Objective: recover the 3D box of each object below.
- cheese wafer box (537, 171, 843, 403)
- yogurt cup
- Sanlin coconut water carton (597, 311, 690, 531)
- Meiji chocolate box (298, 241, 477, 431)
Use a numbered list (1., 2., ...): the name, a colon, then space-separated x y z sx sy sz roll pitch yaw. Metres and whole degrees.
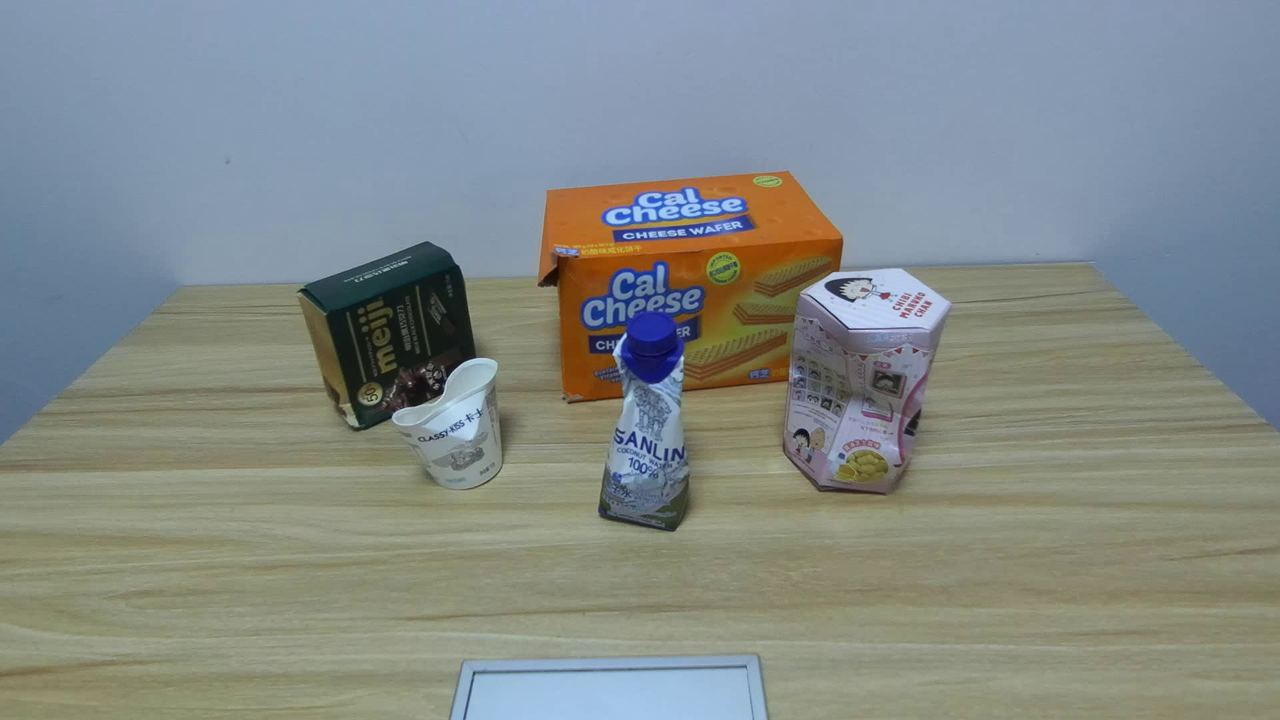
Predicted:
1. cheese wafer box: 0.035 -0.069 0.598 0.227 0.137 0.149 -5 36 -5
2. yogurt cup: -0.128 0.047 0.495 0.053 0.071 0.075 3 35 9
3. Sanlin coconut water carton: 0.012 0.034 0.444 0.056 0.144 0.068 12 28 9
4. Meiji chocolate box: -0.196 -0.022 0.565 0.123 0.116 0.058 -26 42 -31
